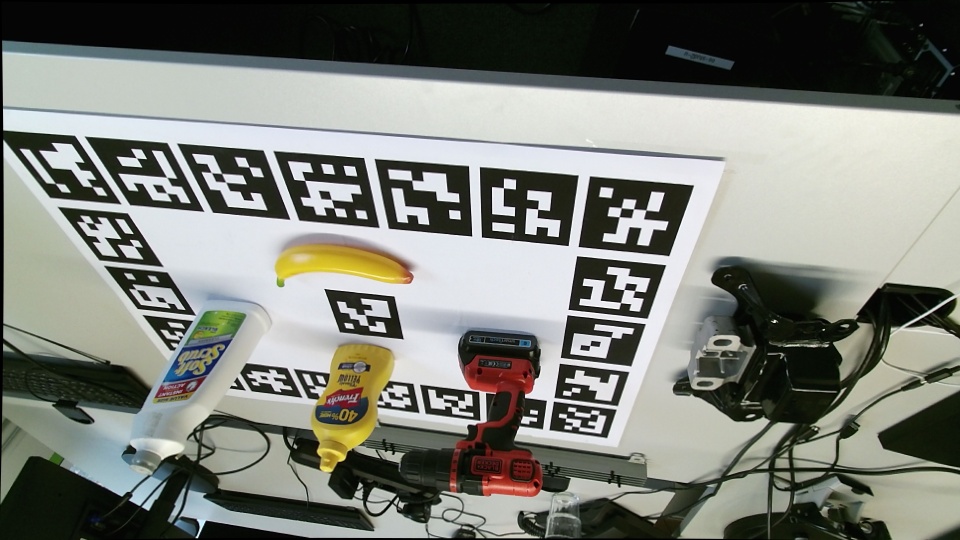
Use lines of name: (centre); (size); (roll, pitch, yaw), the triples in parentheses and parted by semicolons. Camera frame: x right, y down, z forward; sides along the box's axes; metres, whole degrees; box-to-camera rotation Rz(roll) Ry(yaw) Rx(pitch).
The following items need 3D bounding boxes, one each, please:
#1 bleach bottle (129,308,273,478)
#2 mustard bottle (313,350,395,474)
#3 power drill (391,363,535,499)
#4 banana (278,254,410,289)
bleach bottle: (-0.395, 0.168, 0.755); (0.103, 0.249, 0.068); (11, 135, 2)
mustard bottle: (-0.199, 0.210, 0.798); (0.096, 0.190, 0.058); (1, 134, 14)
power drill: (-0.017, 0.215, 0.720); (0.185, 0.186, 0.057); (-1, 134, 8)
banana: (-0.190, 0.013, 0.693); (0.198, 0.038, 0.074); (0, 132, 9)
